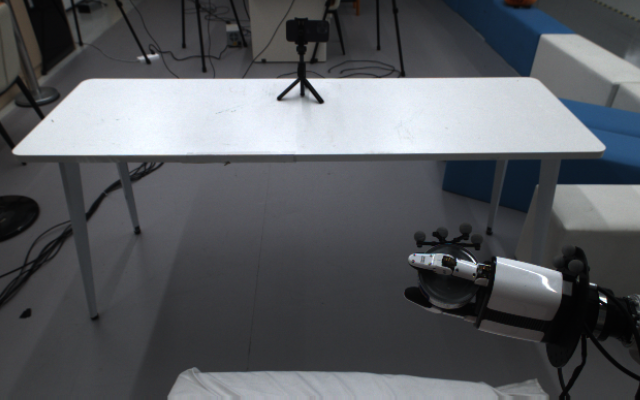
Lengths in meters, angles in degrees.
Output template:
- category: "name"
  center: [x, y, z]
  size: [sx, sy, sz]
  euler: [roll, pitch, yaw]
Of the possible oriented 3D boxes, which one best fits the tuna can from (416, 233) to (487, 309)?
- category: "tuna can"
  center: [0.180, 0.103, 0.671]
  size: [0.085, 0.034, 0.085]
  euler: [-4, 60, 8]
